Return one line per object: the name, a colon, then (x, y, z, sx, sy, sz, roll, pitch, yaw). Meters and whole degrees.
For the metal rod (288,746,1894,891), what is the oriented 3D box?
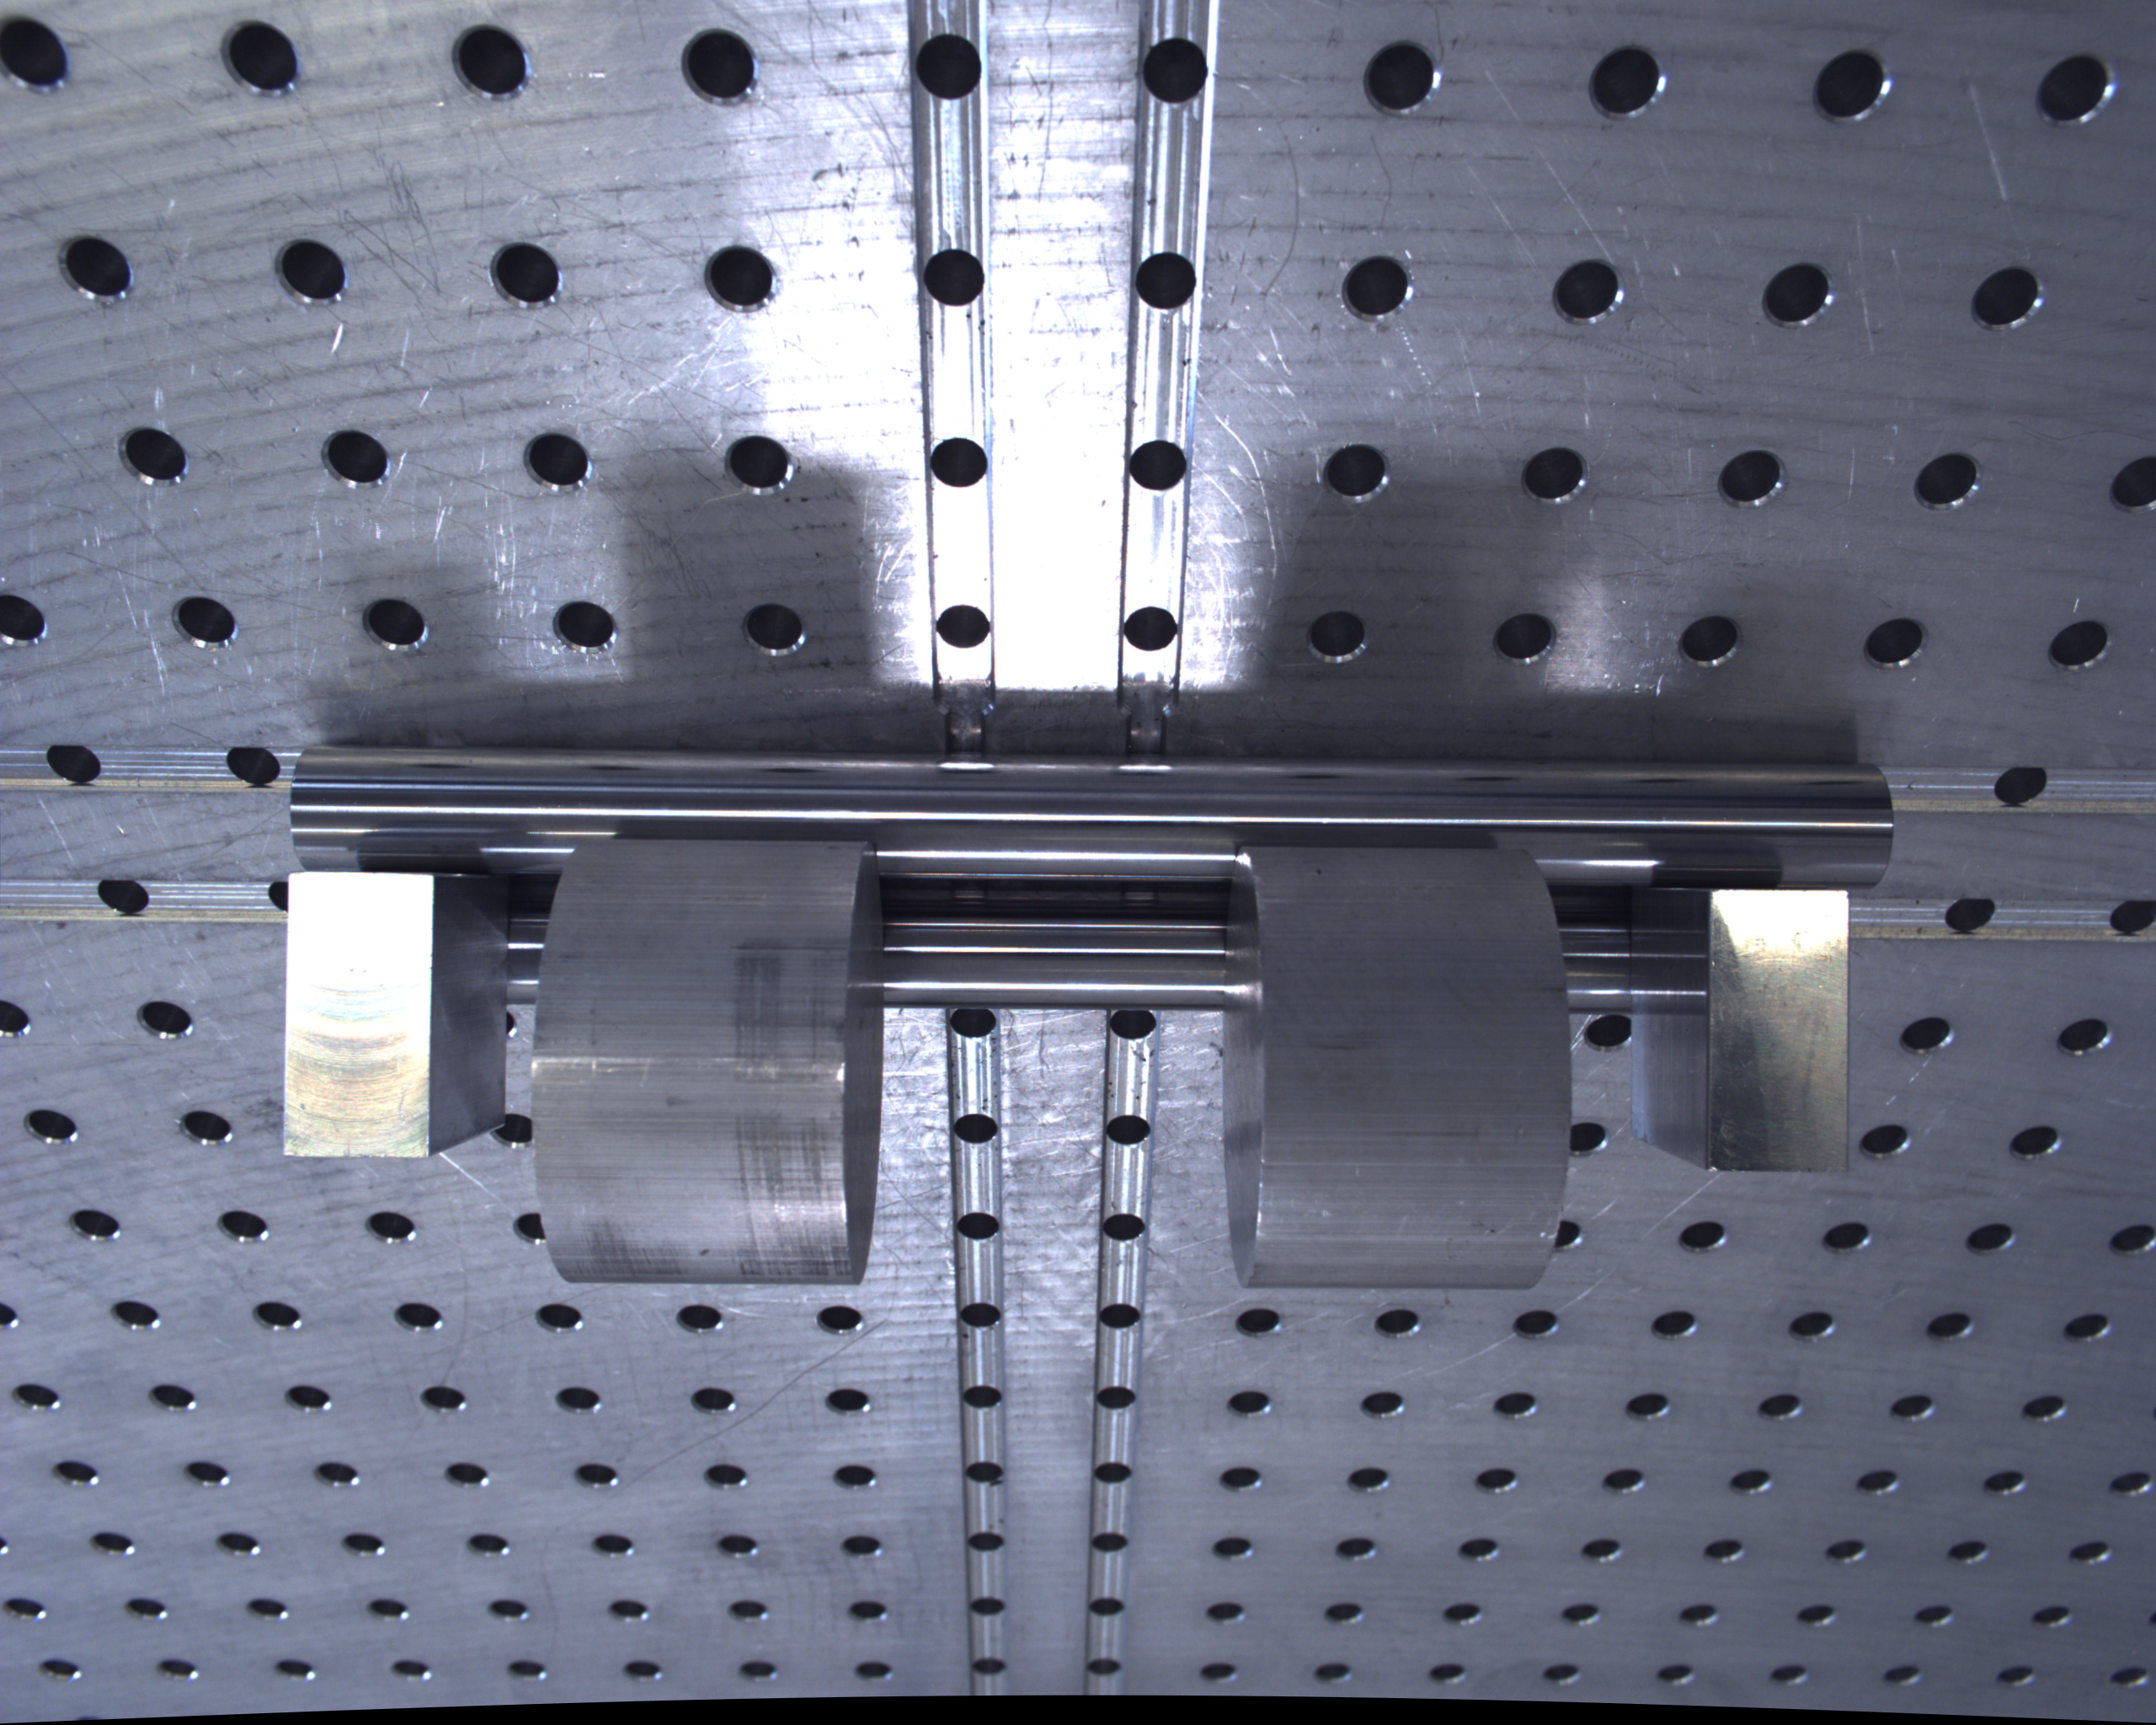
metal rod: (0.003, -0.008, 0.405, 0.302, 0.025, 0.025, 1, 130, -1)

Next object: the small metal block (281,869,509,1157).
small metal block: (-0.125, 0.027, 0.387, 0.025, 0.050, 0.050, 1, 88, 0)

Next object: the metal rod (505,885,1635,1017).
metal rod: (0.000, 0.018, 0.427, 0.302, 0.025, 0.025, 1, 130, -1)

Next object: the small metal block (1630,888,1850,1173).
small metal block: (0.123, 0.030, 0.392, 0.025, 0.050, 0.050, 1, 89, 0)

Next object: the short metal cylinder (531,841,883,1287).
short metal cylinder: (-0.063, 0.036, 0.377, 0.050, 0.080, 0.079, 1, 130, -1)

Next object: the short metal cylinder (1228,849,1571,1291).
short metal cylinder: (0.055, 0.037, 0.379, 0.050, 0.080, 0.079, 1, 130, -1)
